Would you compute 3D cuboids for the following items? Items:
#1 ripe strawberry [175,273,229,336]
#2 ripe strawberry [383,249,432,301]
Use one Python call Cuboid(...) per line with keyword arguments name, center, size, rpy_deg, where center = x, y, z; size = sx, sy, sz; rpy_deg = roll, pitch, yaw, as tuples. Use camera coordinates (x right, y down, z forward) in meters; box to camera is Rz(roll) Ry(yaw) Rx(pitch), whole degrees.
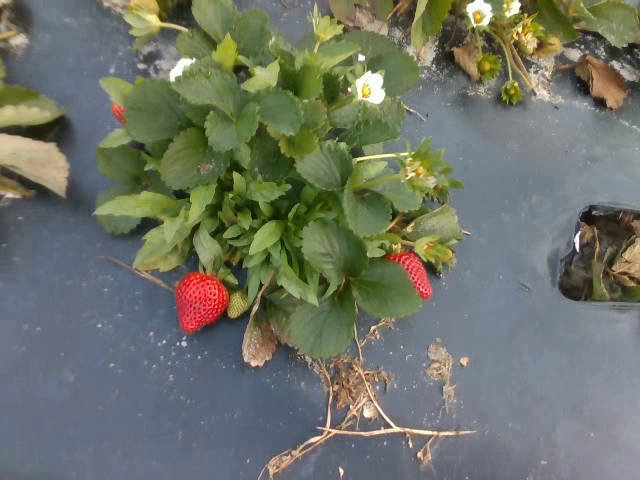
Cuboid(name="ripe strawberry", center=(-0.090, 0.046, 0.459), size=(0.043, 0.051, 0.043), rpy_deg=(21, -26, -8))
Cuboid(name="ripe strawberry", center=(0.068, 0.031, 0.496), size=(0.046, 0.043, 0.046), rpy_deg=(35, -2, 21))
